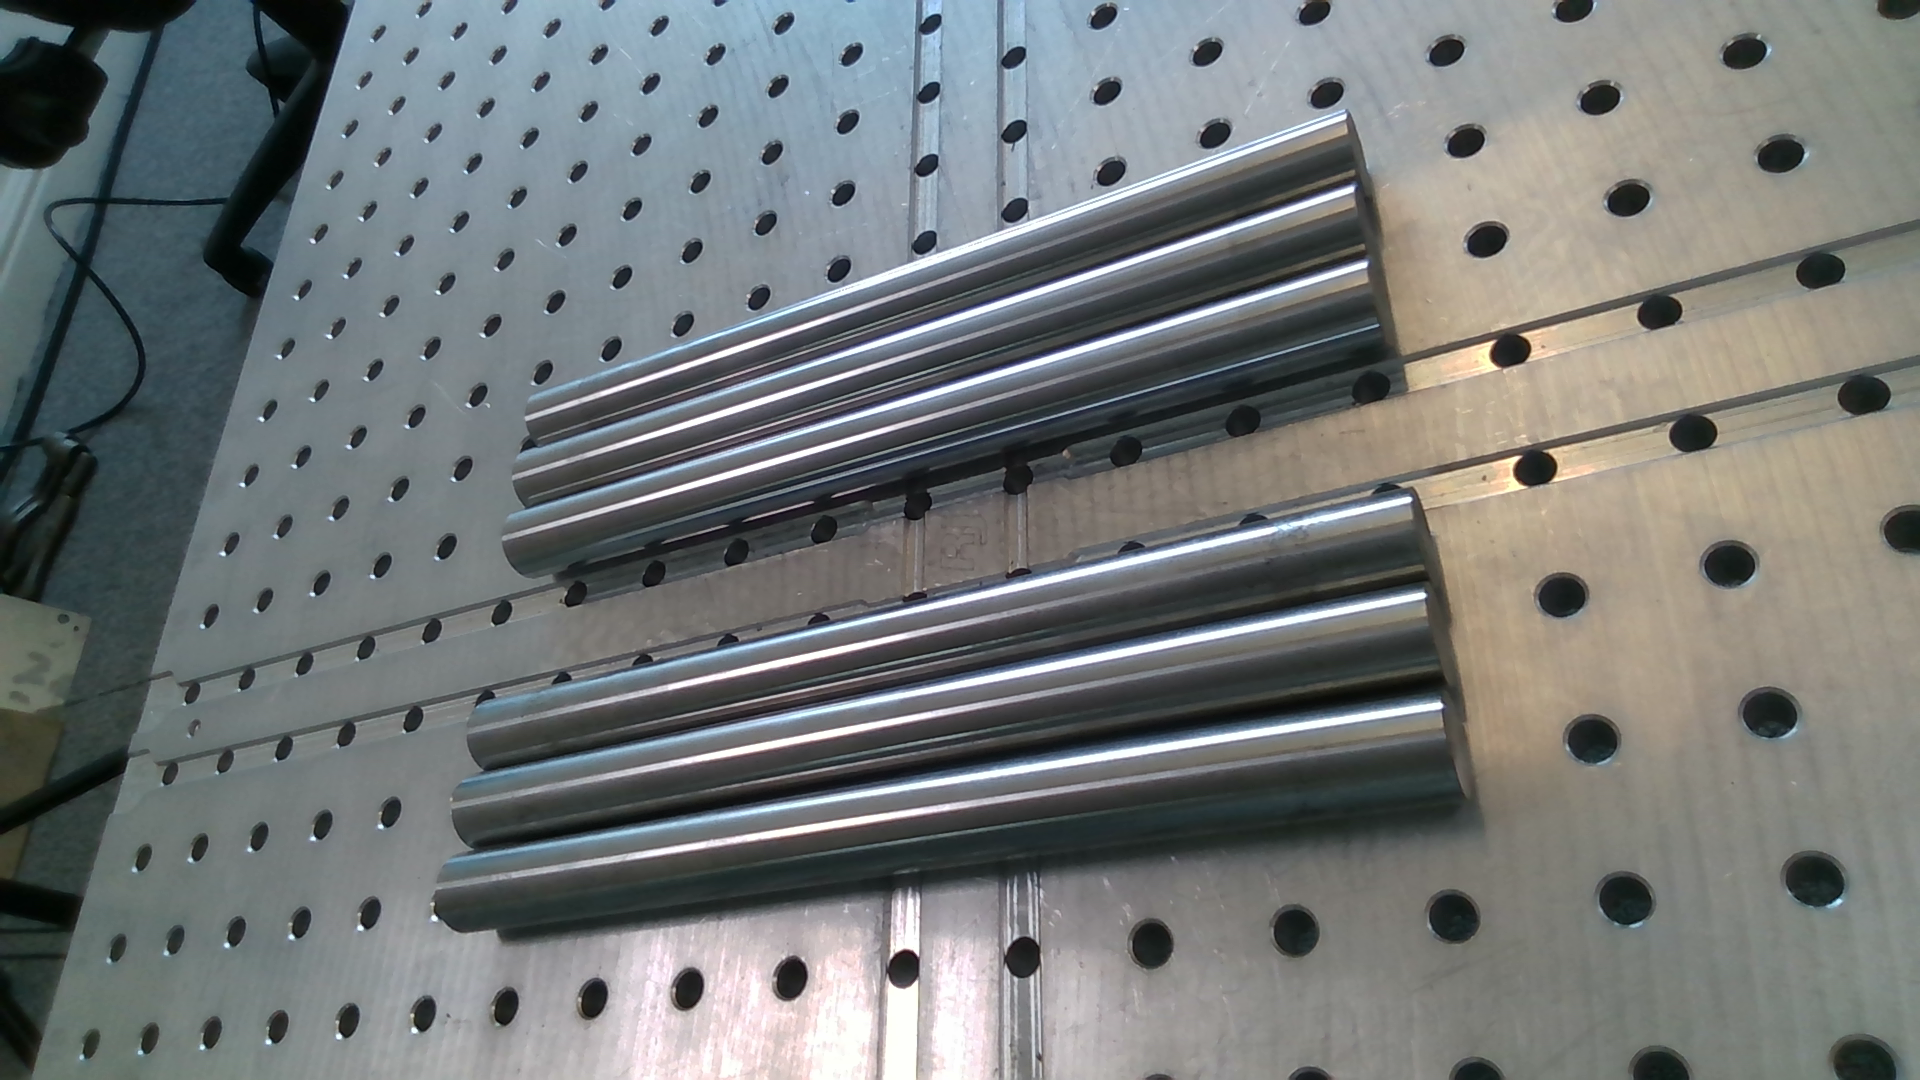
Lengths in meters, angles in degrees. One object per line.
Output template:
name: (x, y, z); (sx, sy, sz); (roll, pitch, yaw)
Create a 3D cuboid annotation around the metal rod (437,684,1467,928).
metal rod: (-0.023, 0.077, 0.369); (0.300, 0.025, 0.025); (-14, 59, 25)

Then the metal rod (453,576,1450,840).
metal rod: (-0.022, 0.053, 0.381); (0.300, 0.025, 0.025); (-14, 59, 25)

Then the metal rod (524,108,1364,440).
metal rod: (-0.022, -0.076, 0.449); (0.300, 0.025, 0.025); (-14, 59, 25)

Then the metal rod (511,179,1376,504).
metal rod: (-0.022, -0.053, 0.437); (0.300, 0.025, 0.025); (-14, 59, 25)

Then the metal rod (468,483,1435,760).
metal rod: (-0.022, 0.031, 0.392); (0.300, 0.025, 0.025); (-14, 59, 25)

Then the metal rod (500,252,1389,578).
metal rod: (-0.022, -0.031, 0.425); (0.300, 0.025, 0.025); (-14, 59, 25)
